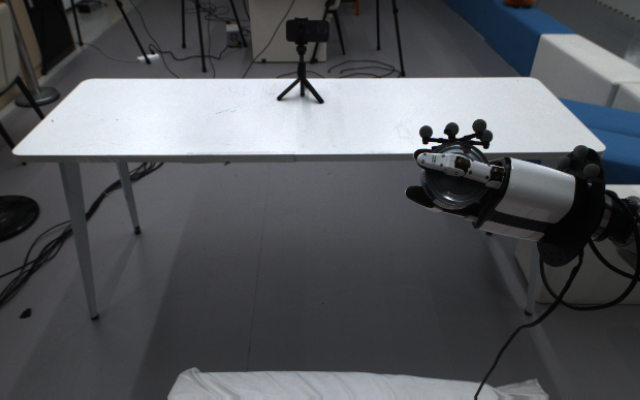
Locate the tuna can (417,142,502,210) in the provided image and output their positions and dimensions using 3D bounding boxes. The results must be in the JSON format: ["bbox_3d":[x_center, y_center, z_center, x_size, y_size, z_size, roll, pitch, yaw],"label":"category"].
[{"bbox_3d":[0.178,-0.034,0.633,0.085,0.034,0.085,0,74,1],"label":"tuna can"}]
